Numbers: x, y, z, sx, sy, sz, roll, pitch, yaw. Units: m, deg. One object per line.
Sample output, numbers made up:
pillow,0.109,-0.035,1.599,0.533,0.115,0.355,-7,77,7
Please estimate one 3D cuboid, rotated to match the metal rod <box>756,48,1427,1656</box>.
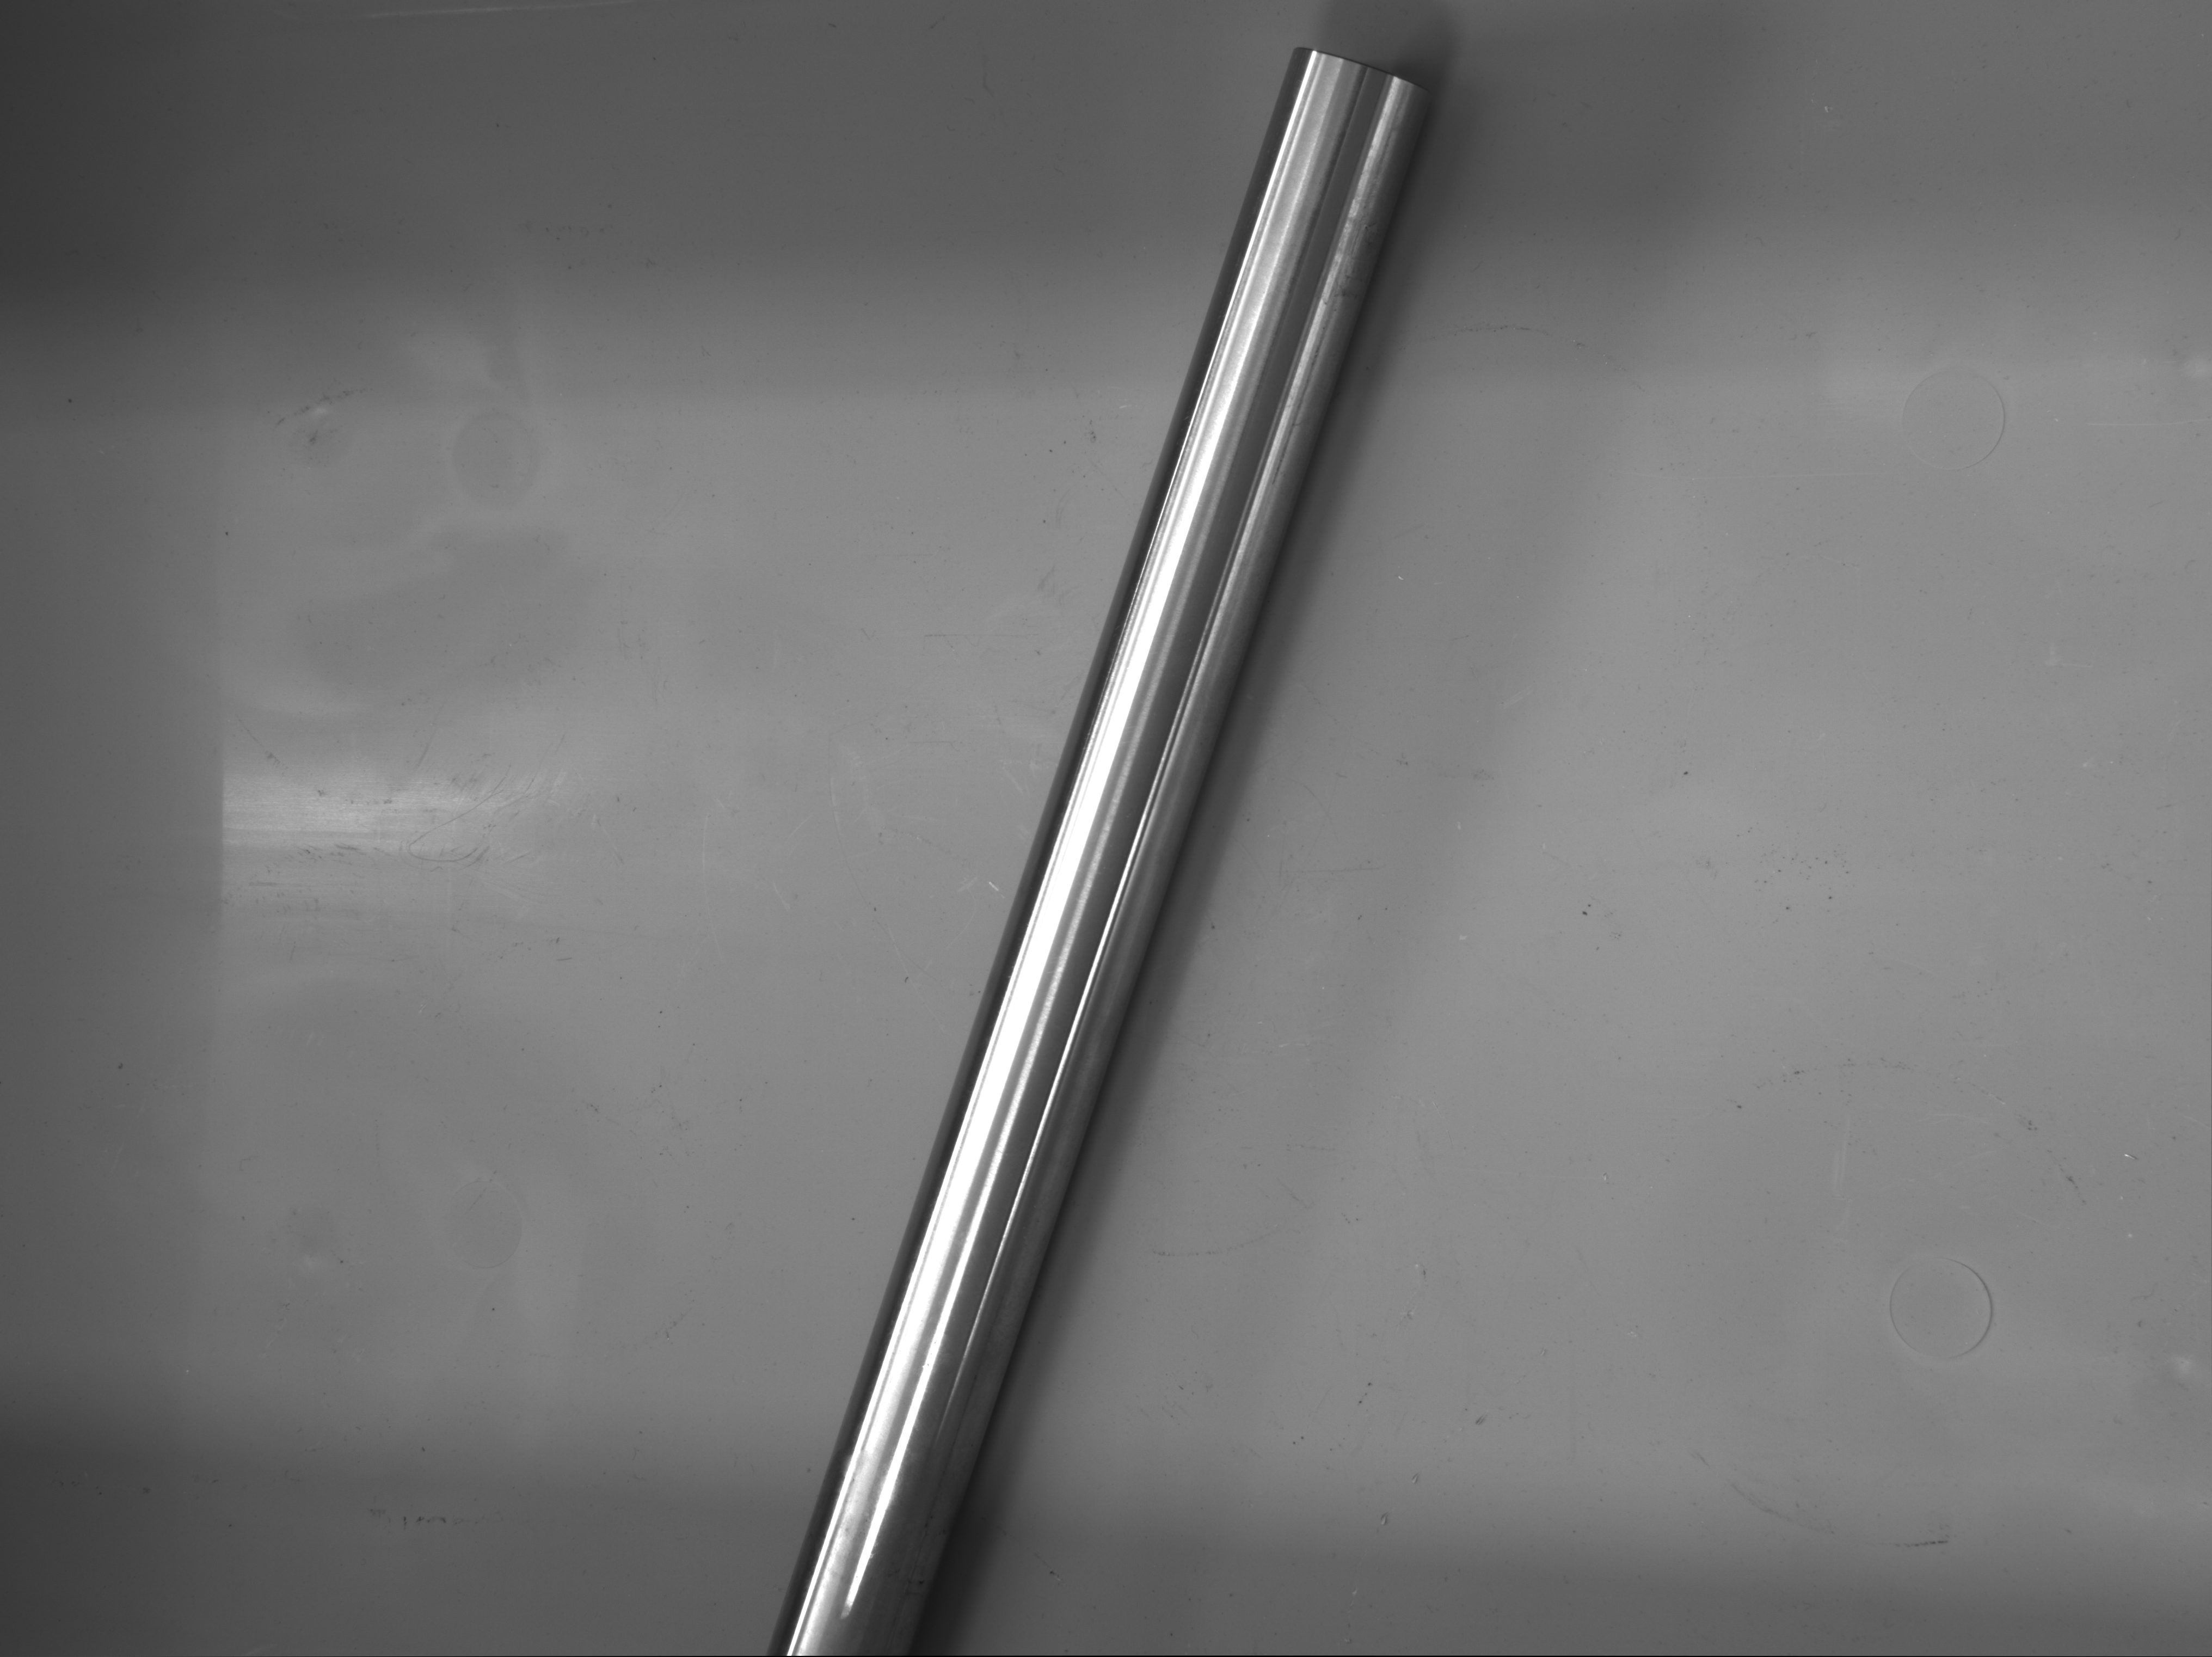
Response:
metal rod,-0.004,0.012,0.646,0.025,0.025,0.300,21,97,19
